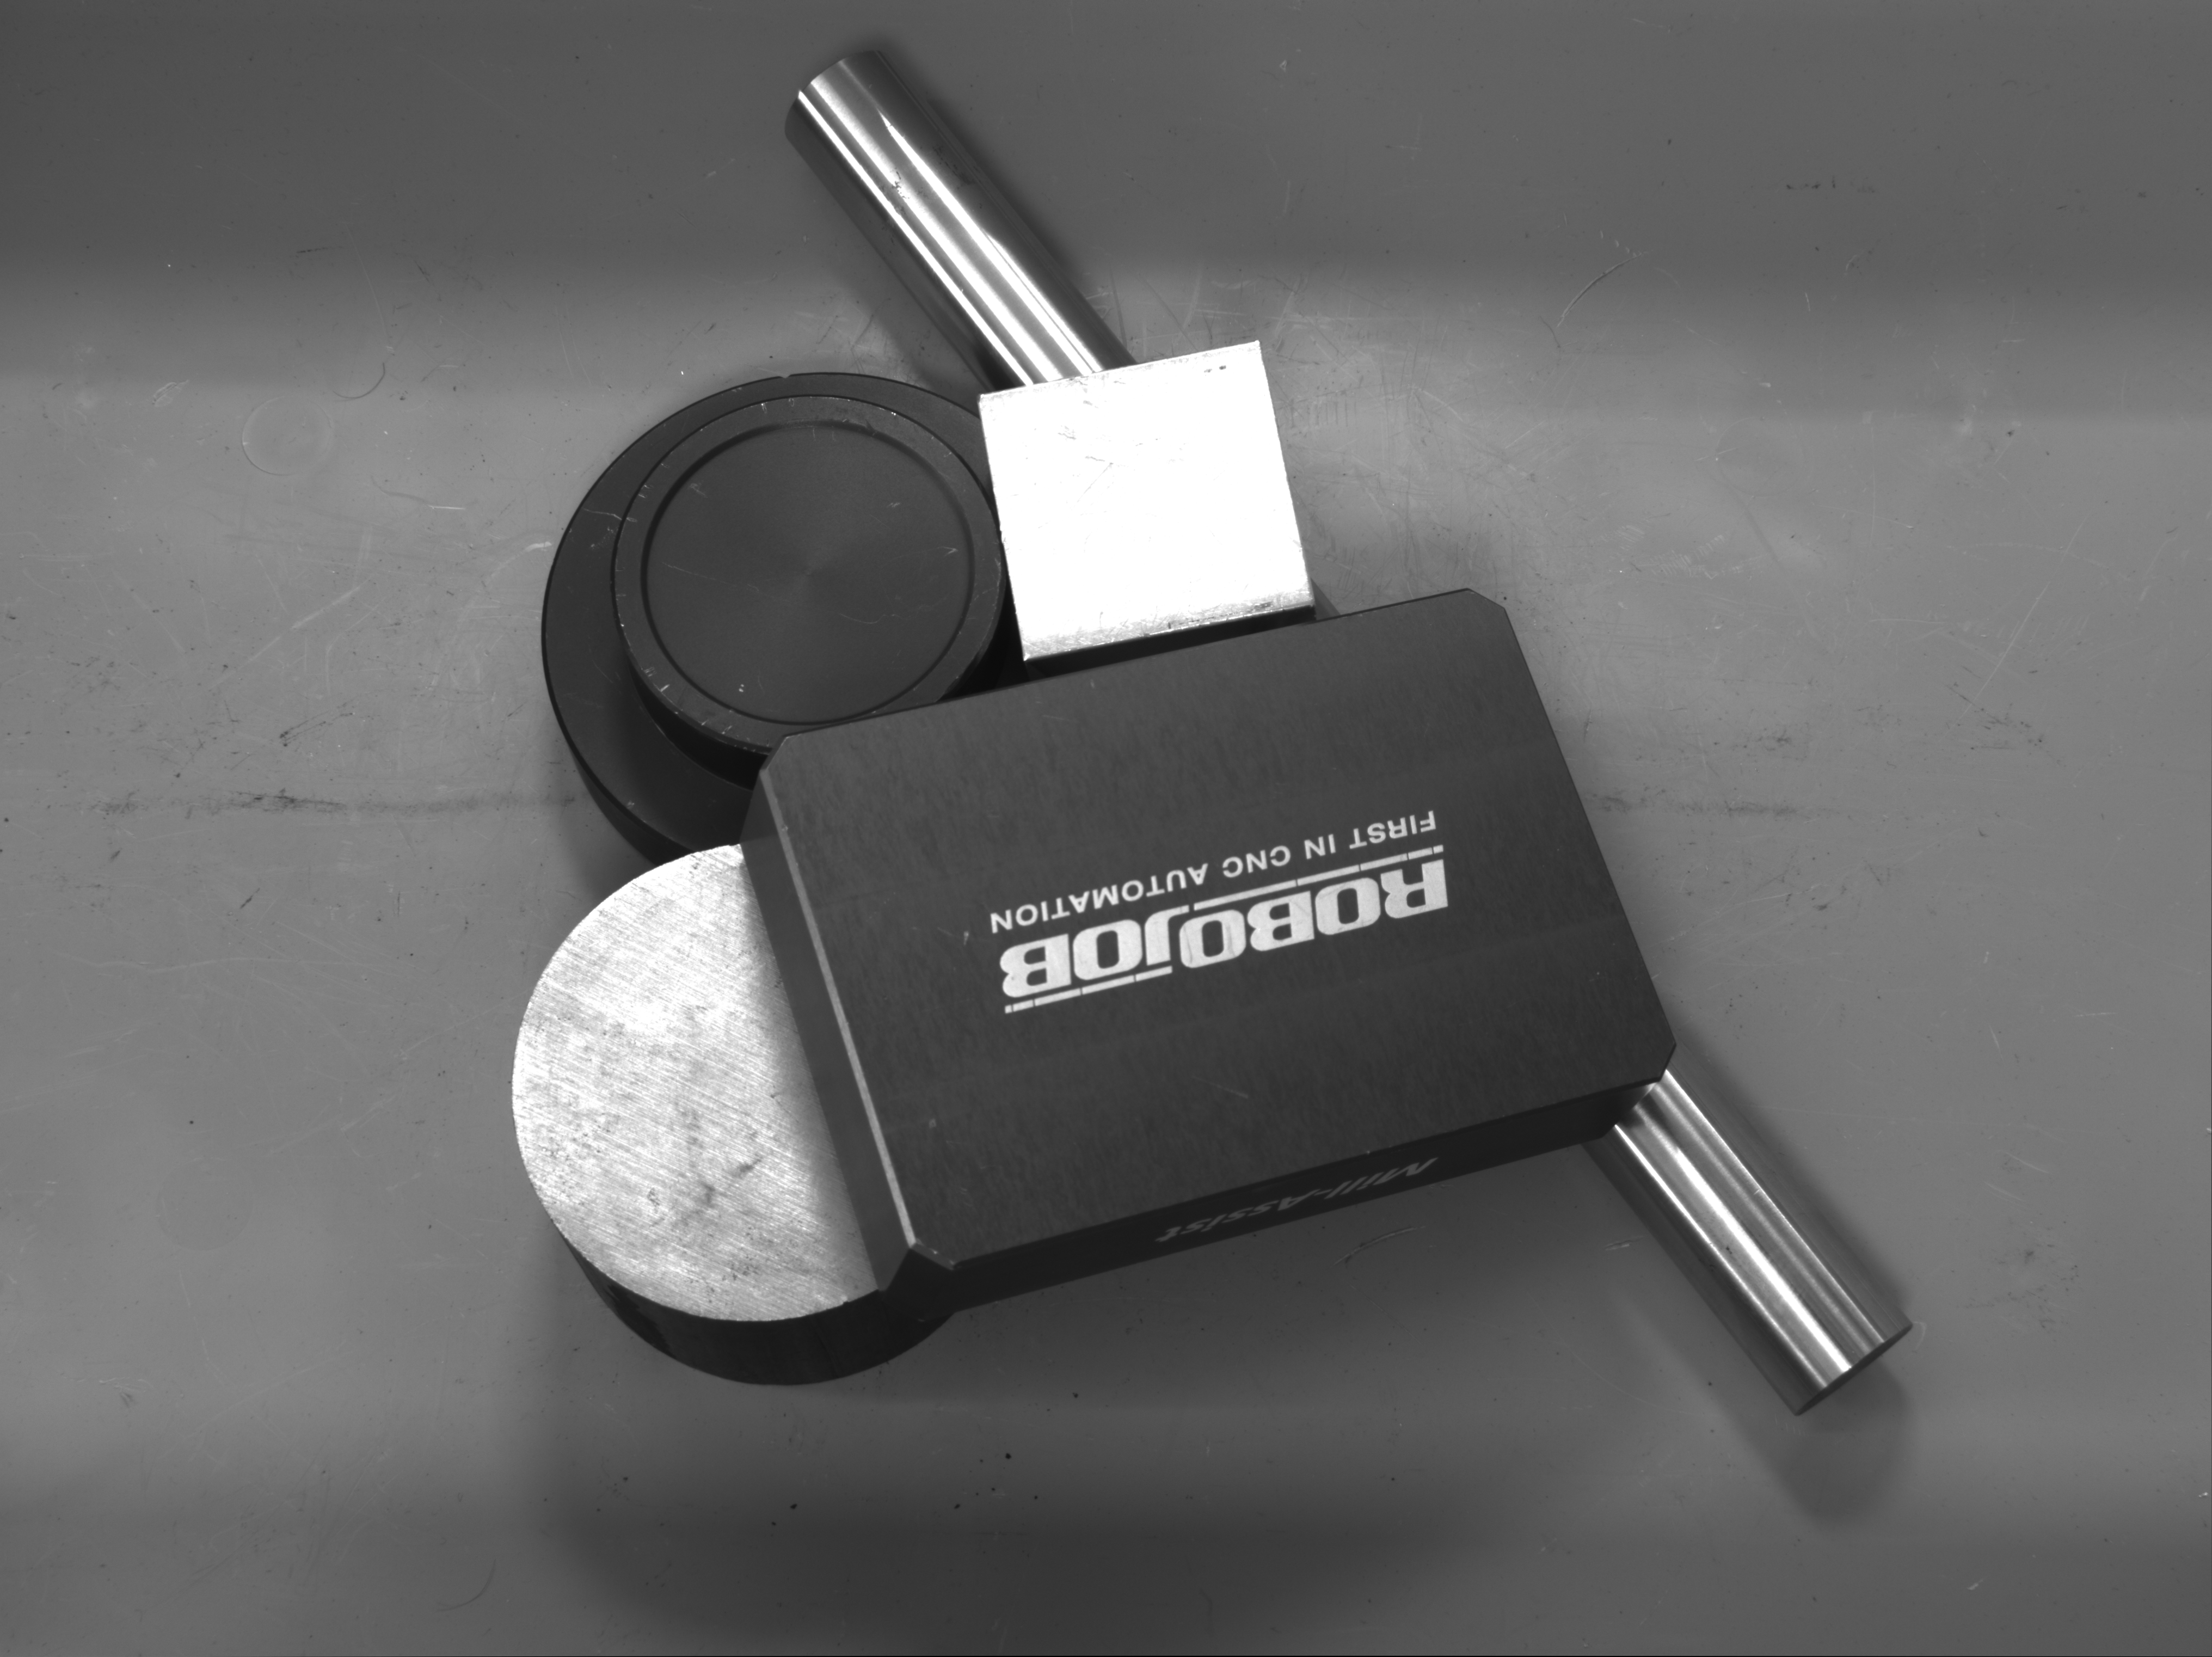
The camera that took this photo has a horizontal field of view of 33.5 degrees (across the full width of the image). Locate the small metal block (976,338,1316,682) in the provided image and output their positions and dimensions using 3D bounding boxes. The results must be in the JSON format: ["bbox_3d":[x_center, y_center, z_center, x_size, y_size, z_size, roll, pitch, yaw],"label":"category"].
[{"bbox_3d":[0.007,-0.053,0.638,0.050,0.025,0.050,-11,73,2],"label":"small metal block"}]

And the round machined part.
[{"bbox_3d":[-0.051,-0.038,0.648,0.098,0.042,0.098,0,70,1],"label":"round machined part"}]

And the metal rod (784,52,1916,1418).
[{"bbox_3d":[0.037,-0.024,0.653,0.025,0.025,0.300,-34,73,-12],"label":"metal rod"}]

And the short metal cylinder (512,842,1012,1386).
[{"bbox_3d":[-0.055,0.048,0.613,0.080,0.050,0.080,0,70,0],"label":"short metal cylinder"}]

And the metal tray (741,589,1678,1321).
[{"bbox_3d":[0.016,0.018,0.594,0.130,0.030,0.090,-13,70,-18],"label":"metal tray"}]
